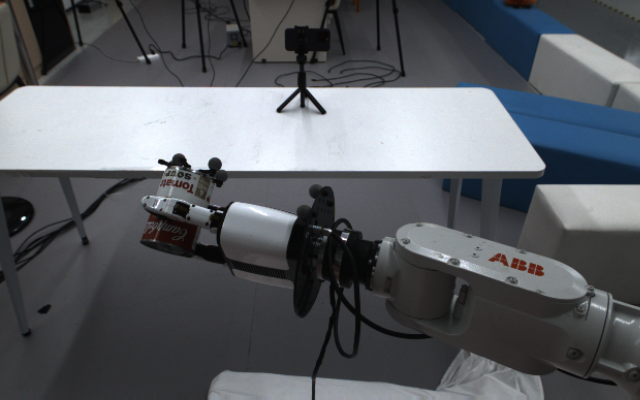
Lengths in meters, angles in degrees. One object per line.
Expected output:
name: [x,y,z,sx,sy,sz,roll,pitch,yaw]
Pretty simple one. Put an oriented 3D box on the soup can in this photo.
soup can: [-0.181,0.017,0.624,0.067,0.067,0.101,9,71,10]
